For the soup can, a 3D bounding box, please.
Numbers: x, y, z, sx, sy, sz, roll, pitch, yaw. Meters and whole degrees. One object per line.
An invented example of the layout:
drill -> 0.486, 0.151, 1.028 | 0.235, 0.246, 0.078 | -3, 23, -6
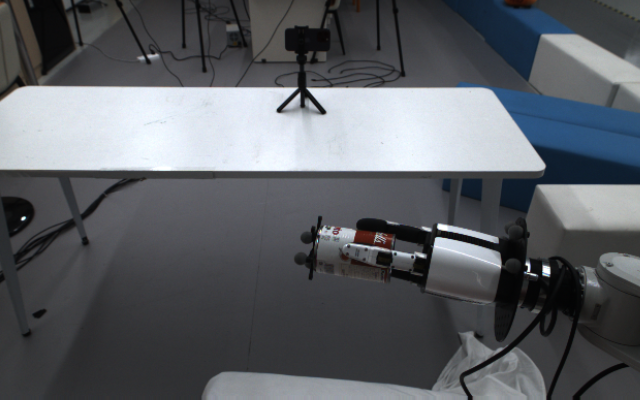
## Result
soup can -> 0.050, 0.072, 0.656 | 0.101, 0.067, 0.067 | 6, 35, 11
